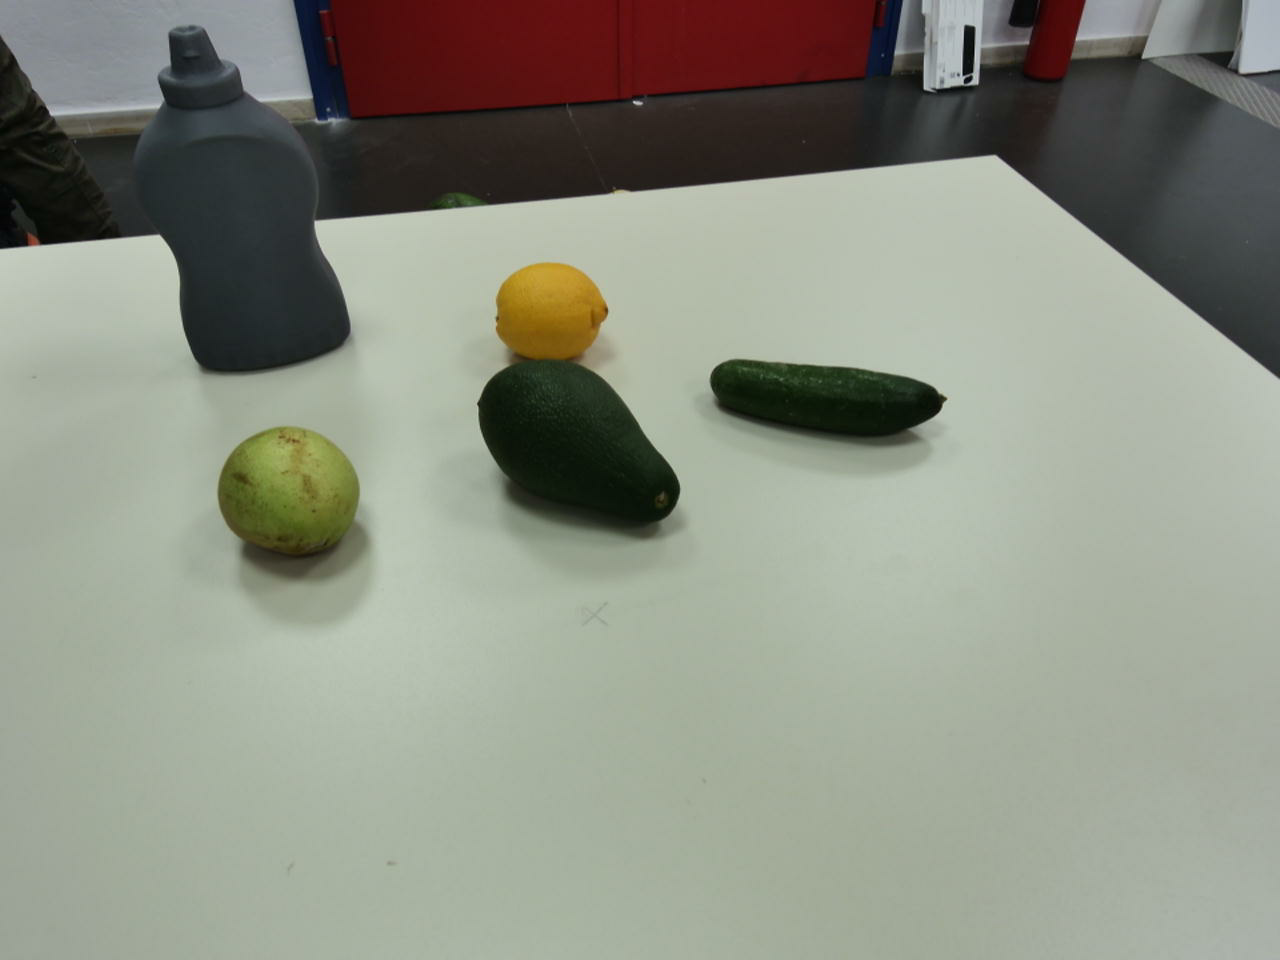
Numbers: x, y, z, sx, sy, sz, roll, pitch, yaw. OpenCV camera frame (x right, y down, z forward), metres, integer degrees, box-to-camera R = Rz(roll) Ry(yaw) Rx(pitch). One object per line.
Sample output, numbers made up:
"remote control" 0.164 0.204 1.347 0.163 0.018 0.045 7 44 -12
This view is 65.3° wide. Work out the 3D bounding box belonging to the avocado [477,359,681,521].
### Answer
"avocado" -0.034 -0.020 0.512 0.072 0.071 0.109 -25 45 -27
